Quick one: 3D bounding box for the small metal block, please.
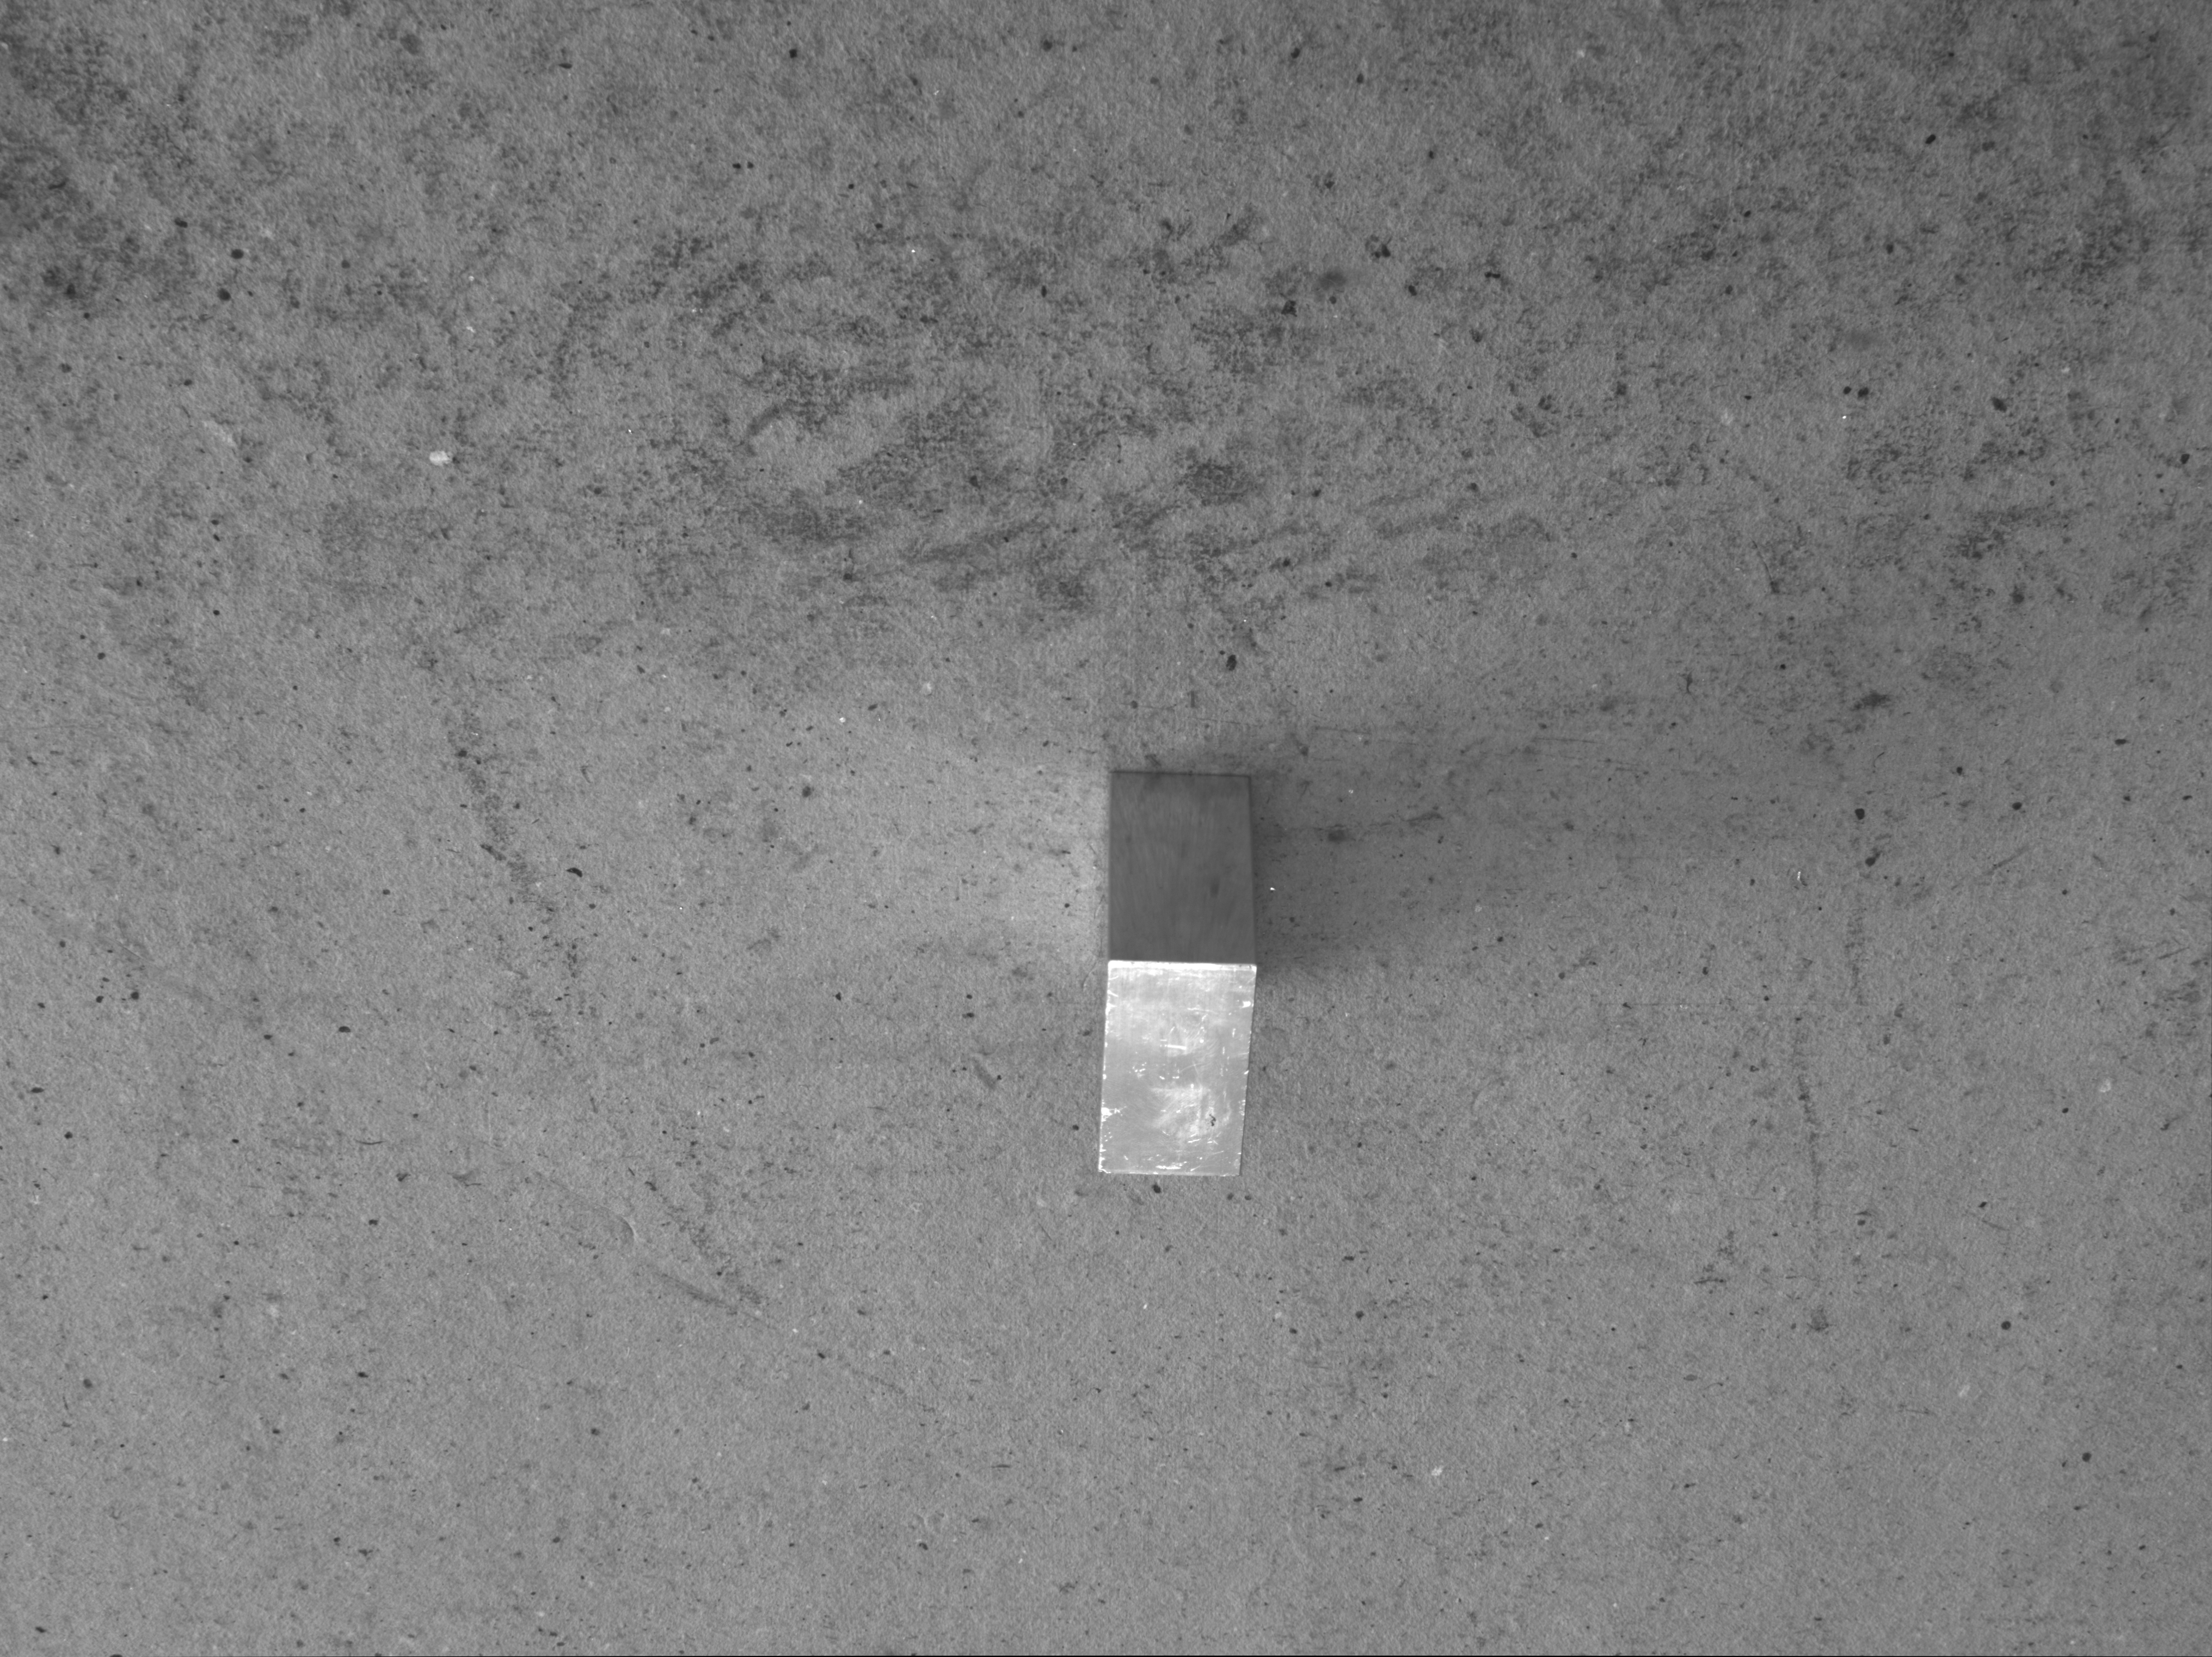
[{"bbox_3d":[0.011,0.026,0.645,0.025,0.050,0.050,1,130,-2],"label":"small metal block"}]
